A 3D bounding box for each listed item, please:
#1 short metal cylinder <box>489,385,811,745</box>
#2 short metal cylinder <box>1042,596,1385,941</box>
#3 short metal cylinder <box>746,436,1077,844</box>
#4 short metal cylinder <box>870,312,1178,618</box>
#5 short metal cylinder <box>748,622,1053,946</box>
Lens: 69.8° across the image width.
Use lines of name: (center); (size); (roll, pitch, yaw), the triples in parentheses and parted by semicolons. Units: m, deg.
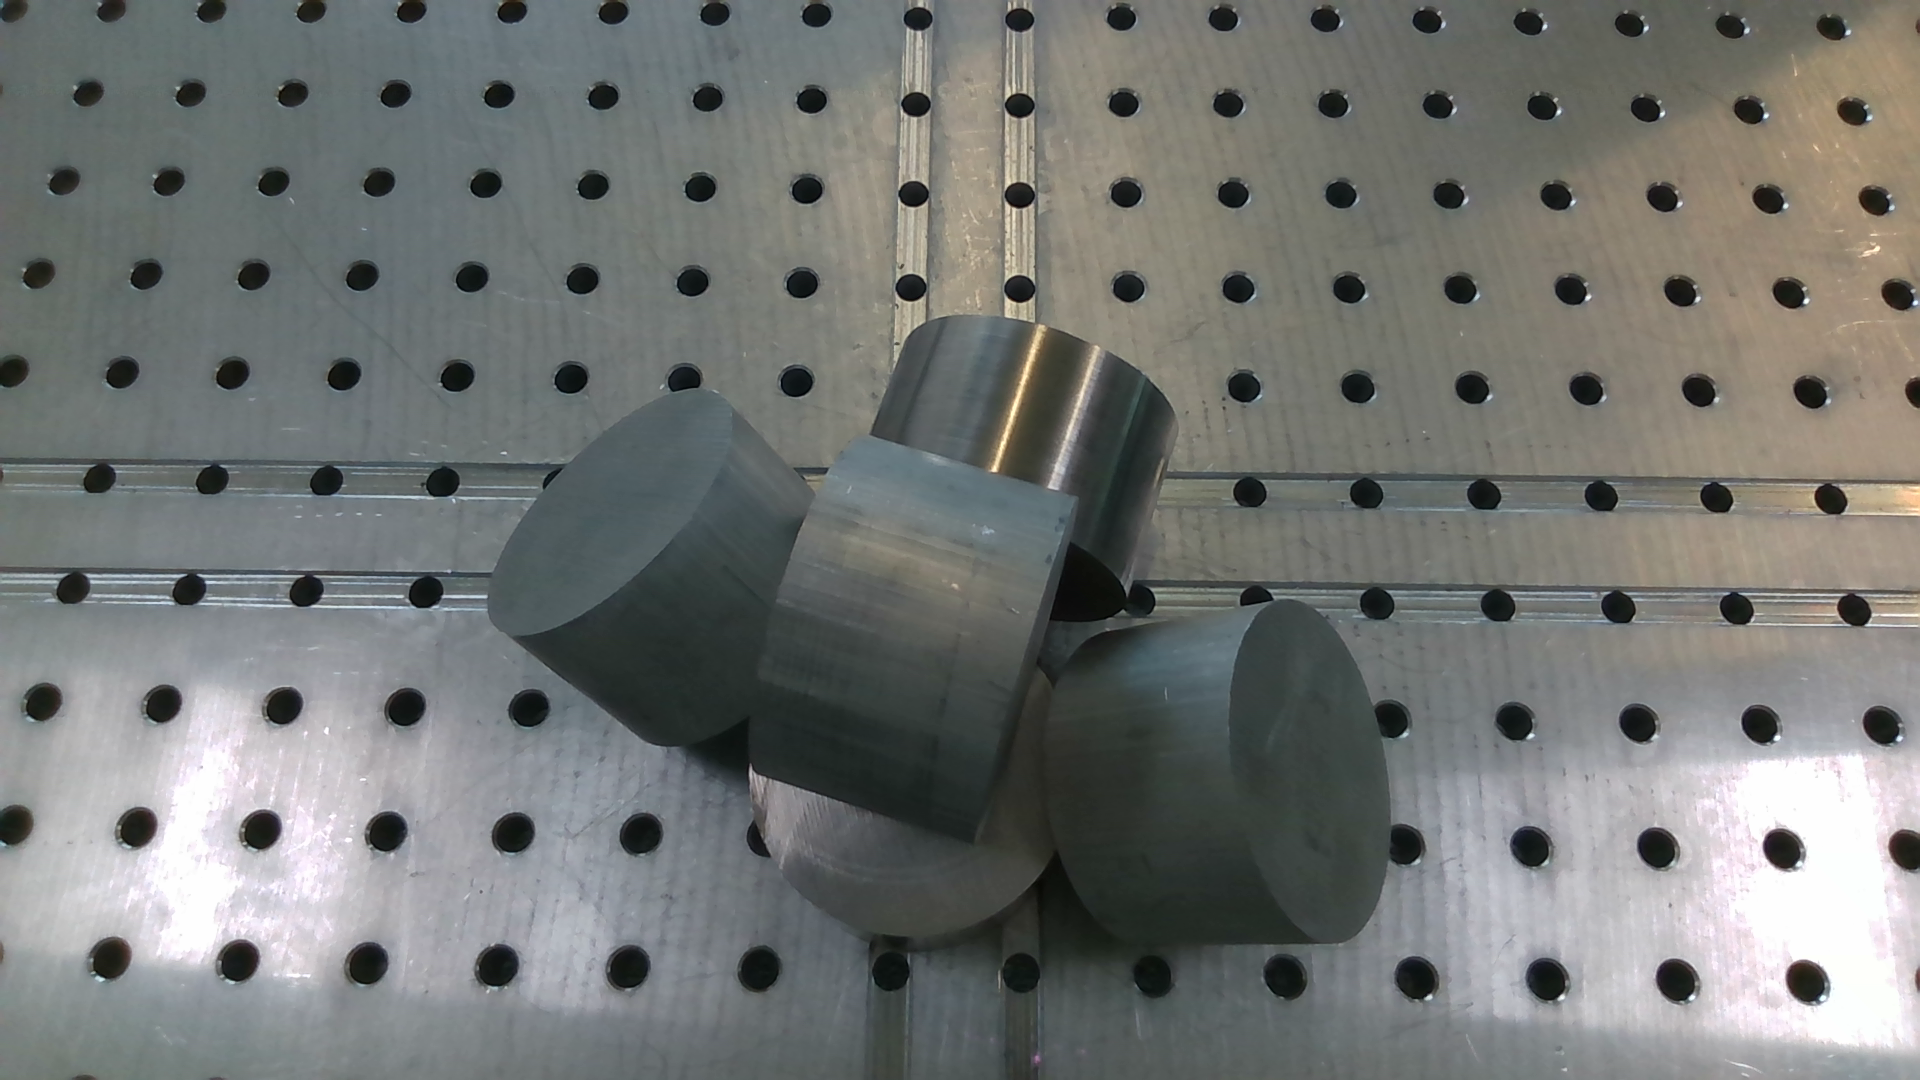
short metal cylinder: (-0.075, 0.006, 0.360); (0.080, 0.050, 0.080); (-26, 37, 22)
short metal cylinder: (0.064, 0.058, 0.341); (0.050, 0.080, 0.080); (-14, 65, 38)
short metal cylinder: (-0.009, 0.021, 0.307); (0.050, 0.080, 0.080); (16, 71, 6)
short metal cylinder: (0.014, -0.018, 0.375); (0.080, 0.080, 0.050); (18, 71, 6)
short metal cylinder: (-0.012, 0.063, 0.361); (0.080, 0.050, 0.080); (0, 70, -1)
